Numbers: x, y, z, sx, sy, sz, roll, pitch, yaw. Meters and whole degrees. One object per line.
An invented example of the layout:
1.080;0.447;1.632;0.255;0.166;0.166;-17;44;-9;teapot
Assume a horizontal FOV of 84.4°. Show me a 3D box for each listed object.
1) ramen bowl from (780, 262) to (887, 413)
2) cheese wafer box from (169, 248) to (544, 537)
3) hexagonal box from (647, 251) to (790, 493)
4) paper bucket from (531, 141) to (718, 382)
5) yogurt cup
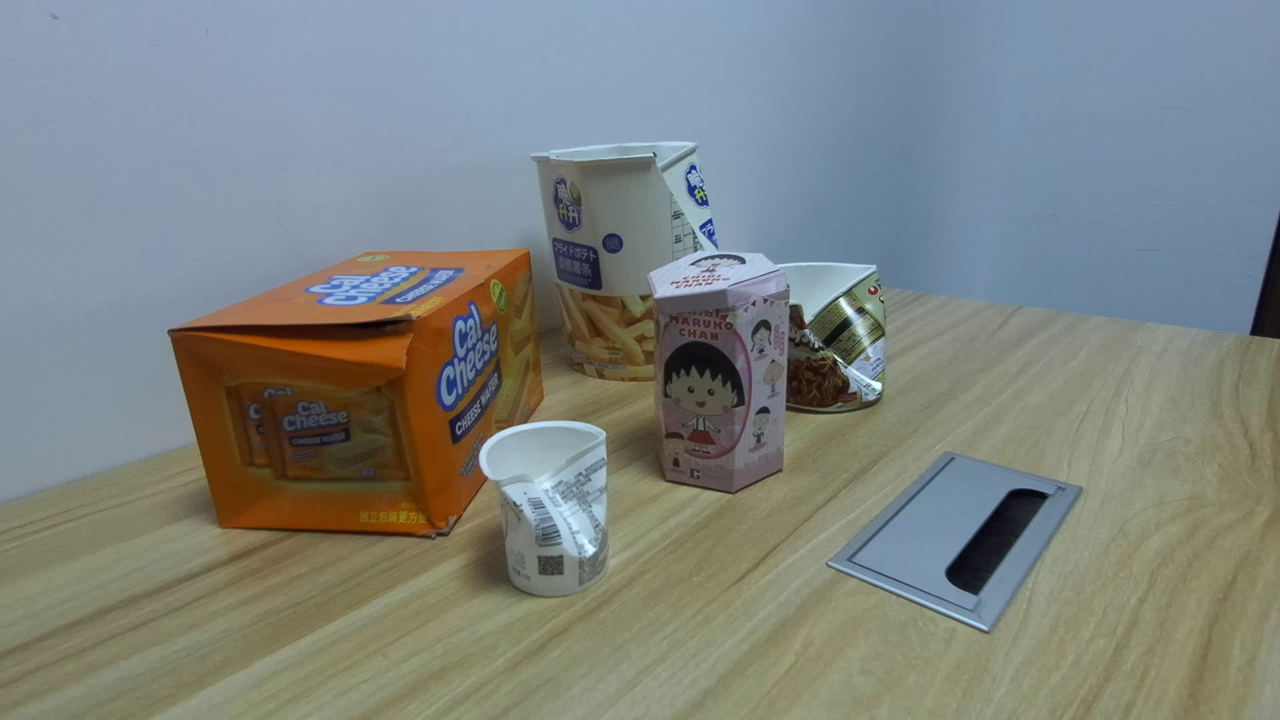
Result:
0.140;-0.023;0.583;0.137;0.098;0.137;-1;17;1;ramen bowl
-0.169;0.006;0.490;0.149;0.137;0.227;0;19;8;cheese wafer box
0.050;0.005;0.455;0.092;0.135;0.085;7;22;25;hexagonal box
0.000;-0.092;0.646;0.169;0.202;0.162;-9;22;-10;paper bucket
-0.046;0.076;0.366;0.067;0.070;0.067;-4;21;2;yogurt cup
